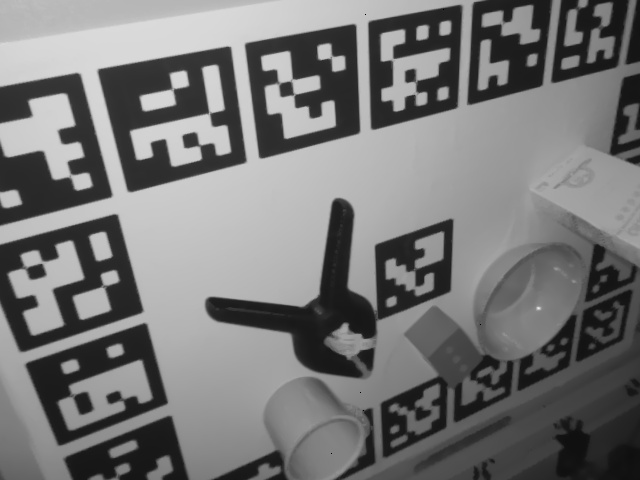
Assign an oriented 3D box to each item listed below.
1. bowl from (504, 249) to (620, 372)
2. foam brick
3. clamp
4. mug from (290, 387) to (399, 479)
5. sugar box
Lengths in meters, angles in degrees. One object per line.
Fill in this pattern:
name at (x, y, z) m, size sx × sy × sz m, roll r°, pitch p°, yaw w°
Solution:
bowl at (0.274, 0.074, 0.823) m, size 0.164 × 0.055 × 0.160 m, roll -12°, pitch 118°, yaw -22°
foam brick at (0.169, 0.130, 0.802) m, size 0.053 × 0.051 × 0.078 m, roll -43°, pitch 124°, yaw -5°
clamp at (0.034, 0.084, 0.704) m, size 0.166 × 0.036 × 0.203 m, roll -40°, pitch 124°, yaw -8°
mug at (0.028, 0.212, 0.738) m, size 0.118 × 0.081 × 0.092 m, roll 8°, pitch 109°, yaw -27°
sugar box at (0.349, -0.040, 0.736) m, size 0.093 × 0.175 × 0.045 m, roll -39°, pitch 123°, yaw -4°
